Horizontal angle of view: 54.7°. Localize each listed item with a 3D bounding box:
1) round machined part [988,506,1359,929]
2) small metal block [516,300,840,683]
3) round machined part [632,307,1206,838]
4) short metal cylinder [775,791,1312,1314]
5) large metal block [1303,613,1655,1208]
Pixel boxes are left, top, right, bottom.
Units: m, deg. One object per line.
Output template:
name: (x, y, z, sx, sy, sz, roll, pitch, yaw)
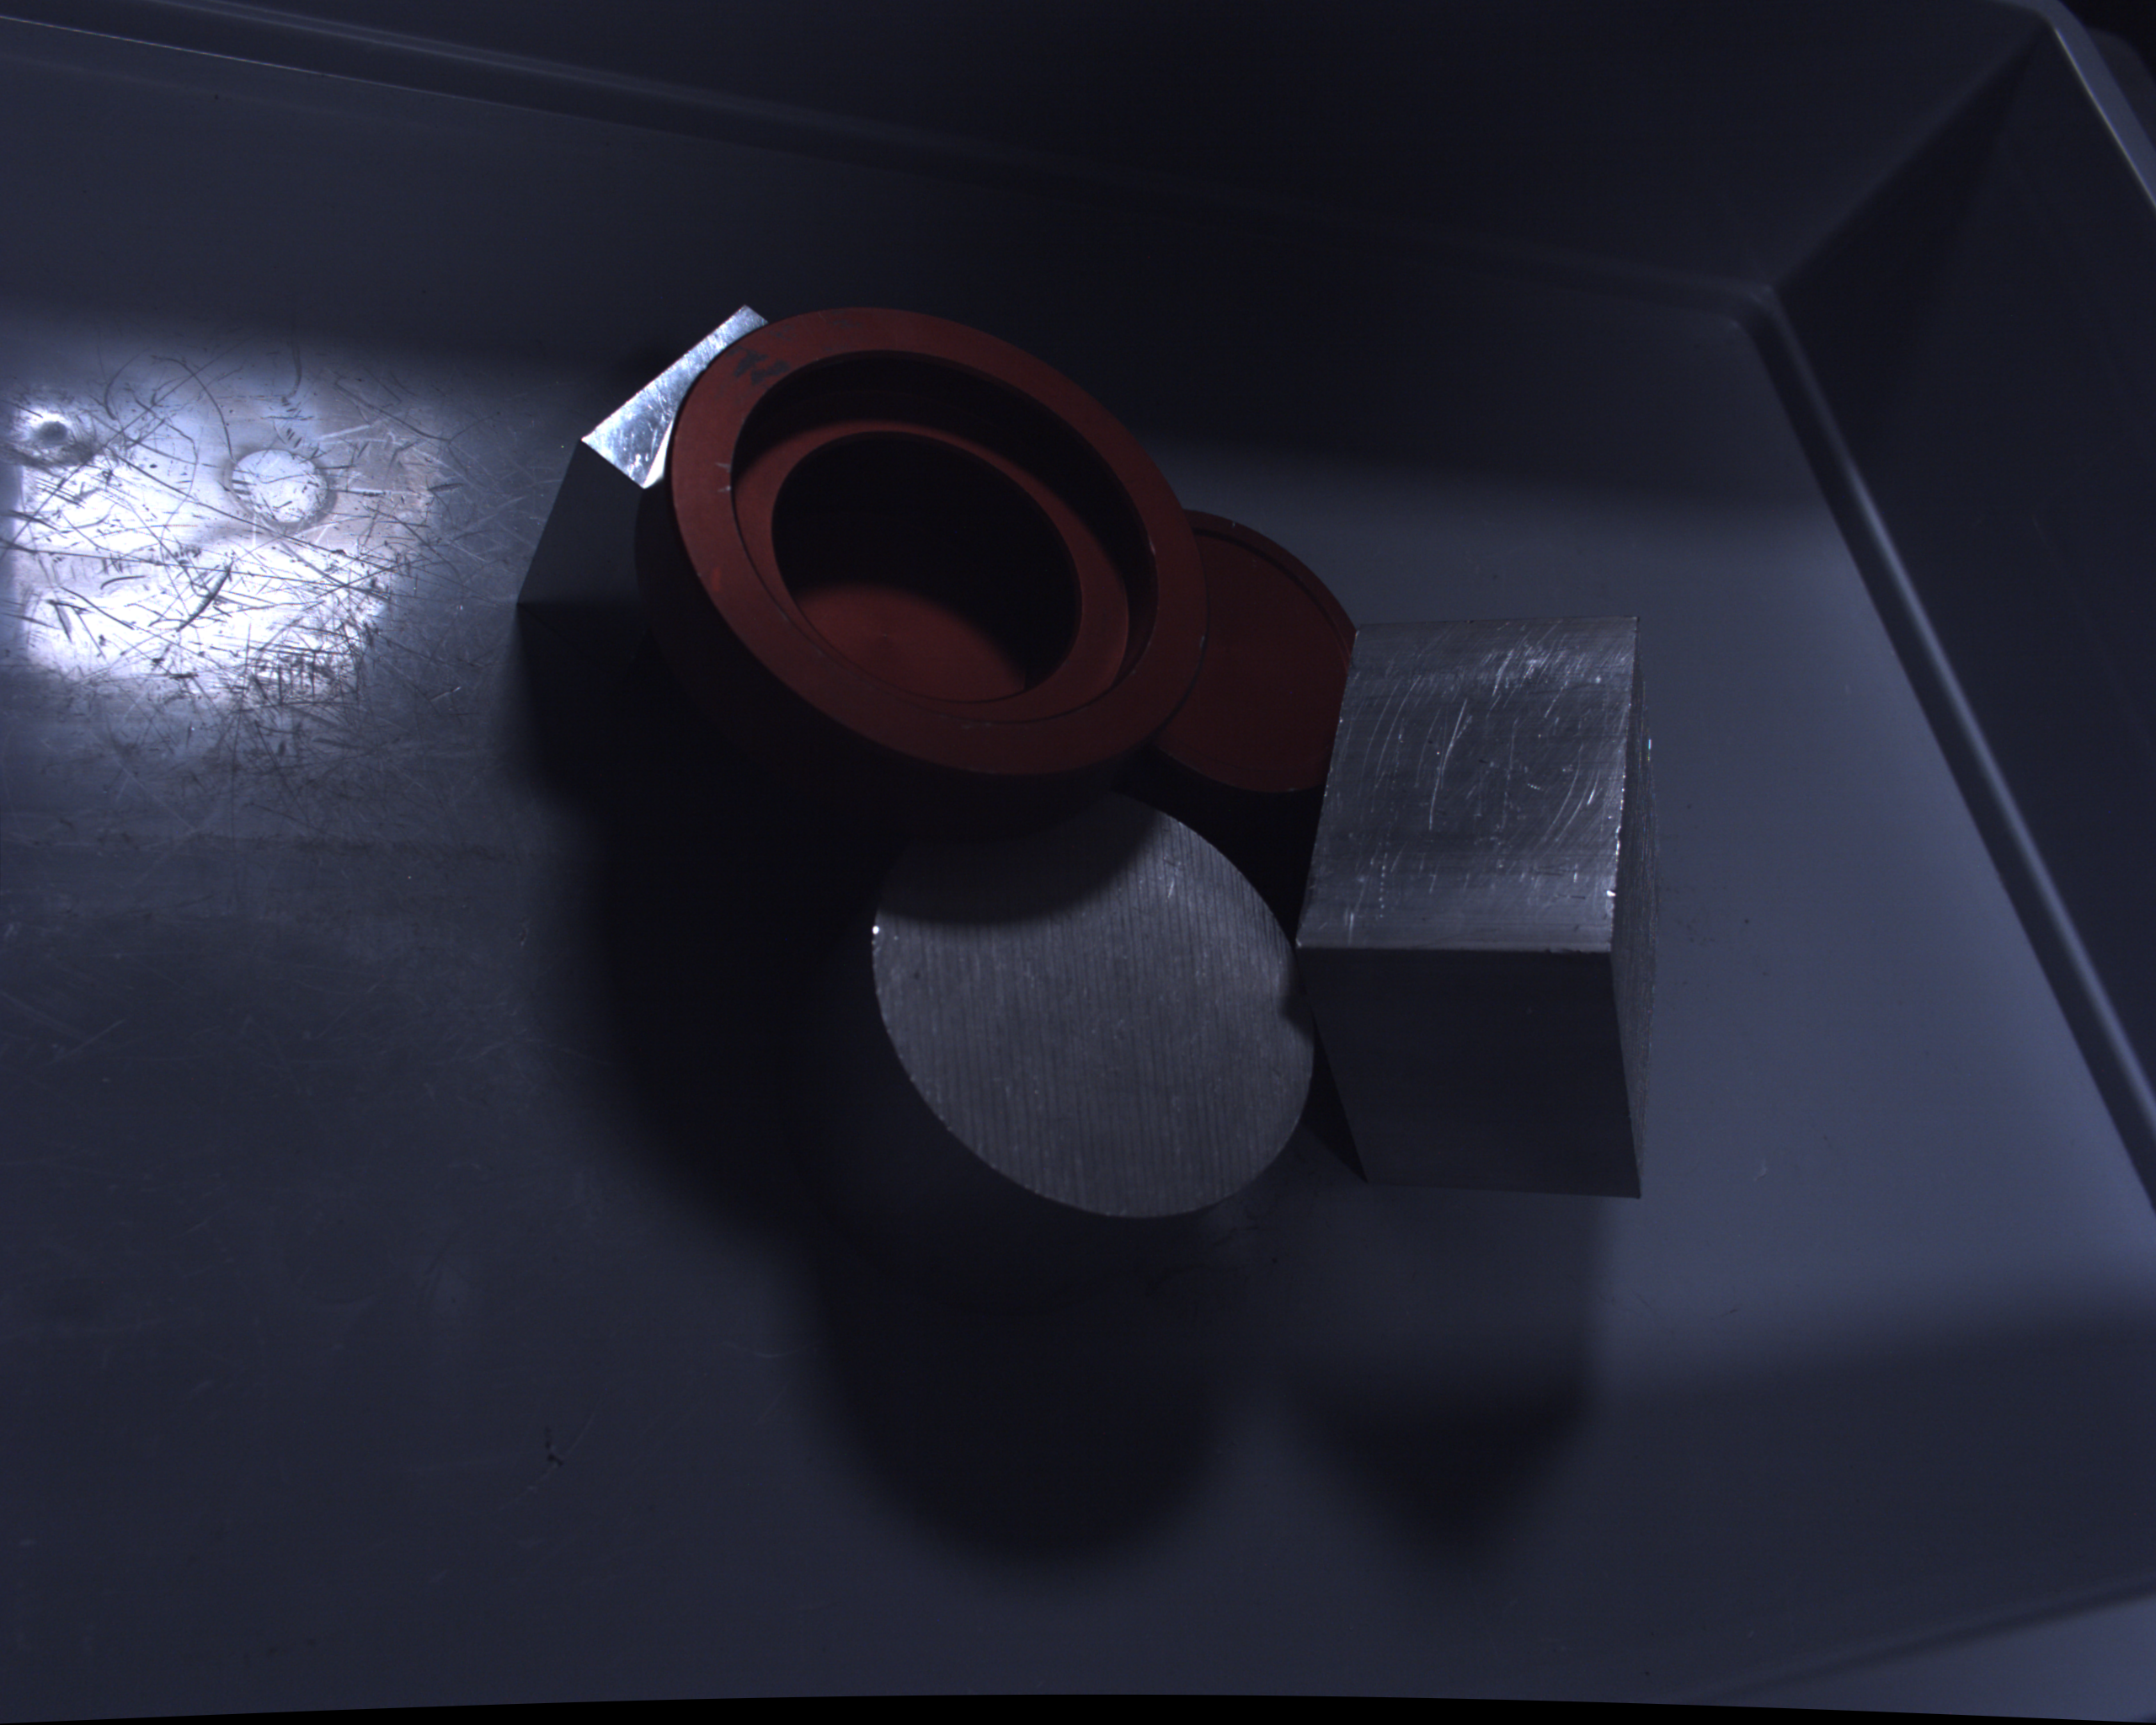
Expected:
round machined part: (0.021, -0.033, 0.424, 0.099, 0.042, 0.098, 14, 56, -21)
small metal block: (-0.074, -0.069, 0.390, 0.025, 0.050, 0.050, 38, 51, -3)
round machined part: (-0.030, -0.047, 0.369, 0.099, 0.042, 0.098, 14, 56, -21)
short metal cylinder: (-0.007, 0.033, 0.365, 0.081, 0.050, 0.080, 14, 56, -21)
large metal block: (0.081, 0.010, 0.399, 0.050, 0.080, 0.080, 0, 50, 20)
